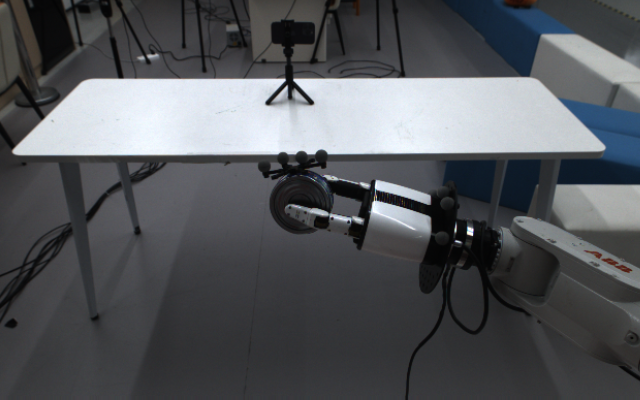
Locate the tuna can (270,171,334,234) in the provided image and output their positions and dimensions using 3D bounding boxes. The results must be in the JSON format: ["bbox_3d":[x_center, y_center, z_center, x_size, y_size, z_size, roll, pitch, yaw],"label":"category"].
[{"bbox_3d":[-0.022,0.008,0.660,0.085,0.085,0.034,6,18,5],"label":"tuna can"}]
